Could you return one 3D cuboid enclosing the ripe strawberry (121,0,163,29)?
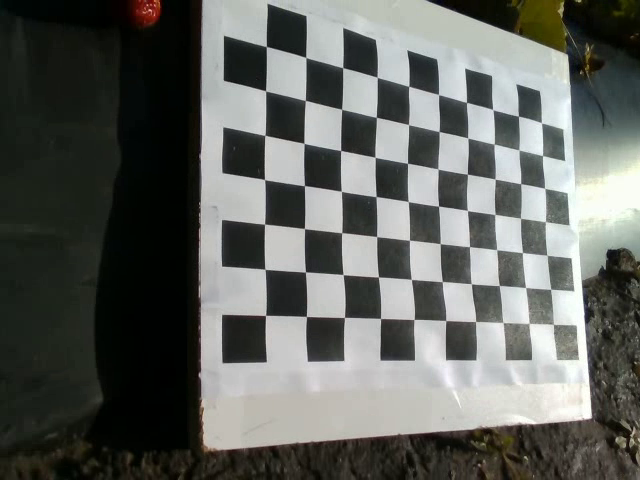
[{"bbox_3d":[-0.079,-0.096,0.282,0.035,0.033,0.037,3,28,-29],"label":"ripe strawberry"}]
